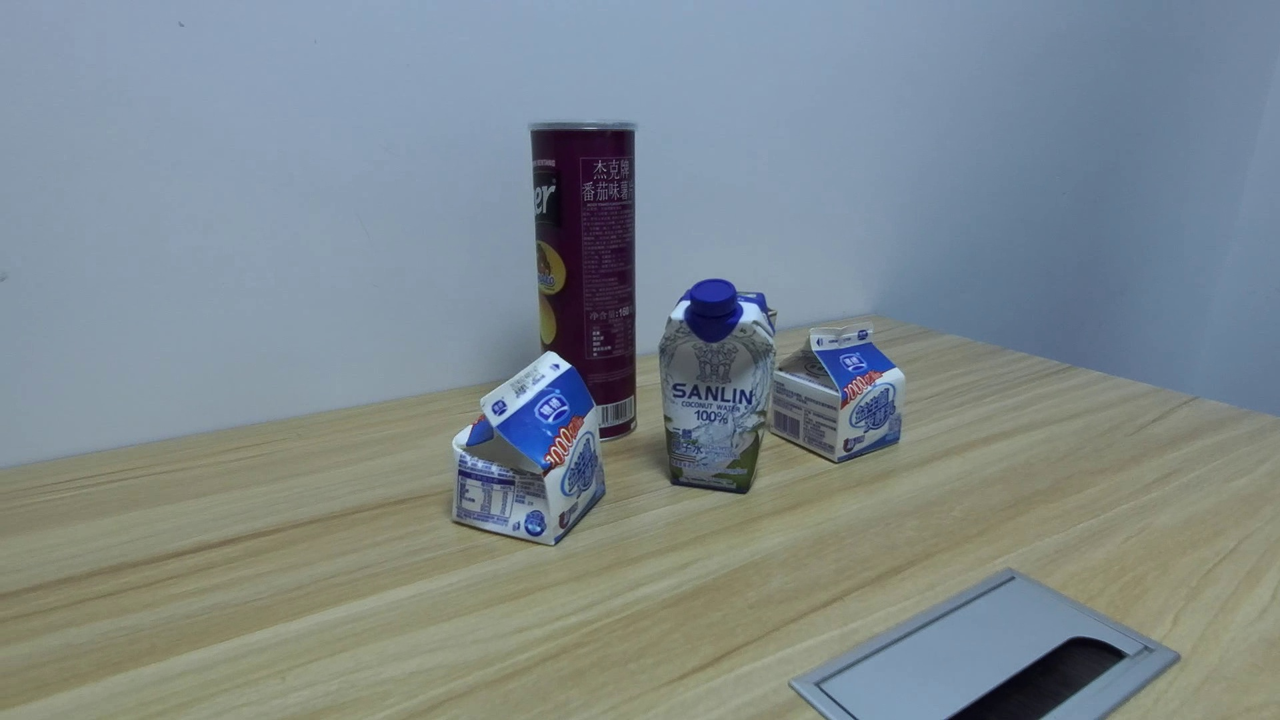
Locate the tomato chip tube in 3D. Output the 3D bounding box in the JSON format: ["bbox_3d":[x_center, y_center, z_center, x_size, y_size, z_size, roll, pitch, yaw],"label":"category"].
[{"bbox_3d":[-0.039,-0.058,0.543,0.078,0.234,0.078,0,17,0],"label":"tomato chip tube"}]

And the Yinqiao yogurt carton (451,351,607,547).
[{"bbox_3d":[-0.068,0.048,0.438,0.077,0.093,0.083,8,19,22],"label":"Yinqiao yogurt carton"}]

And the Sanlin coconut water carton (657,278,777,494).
[{"bbox_3d":[0.050,0.015,0.465,0.078,0.142,0.058,5,23,15],"label":"Sanlin coconut water carton"}]
